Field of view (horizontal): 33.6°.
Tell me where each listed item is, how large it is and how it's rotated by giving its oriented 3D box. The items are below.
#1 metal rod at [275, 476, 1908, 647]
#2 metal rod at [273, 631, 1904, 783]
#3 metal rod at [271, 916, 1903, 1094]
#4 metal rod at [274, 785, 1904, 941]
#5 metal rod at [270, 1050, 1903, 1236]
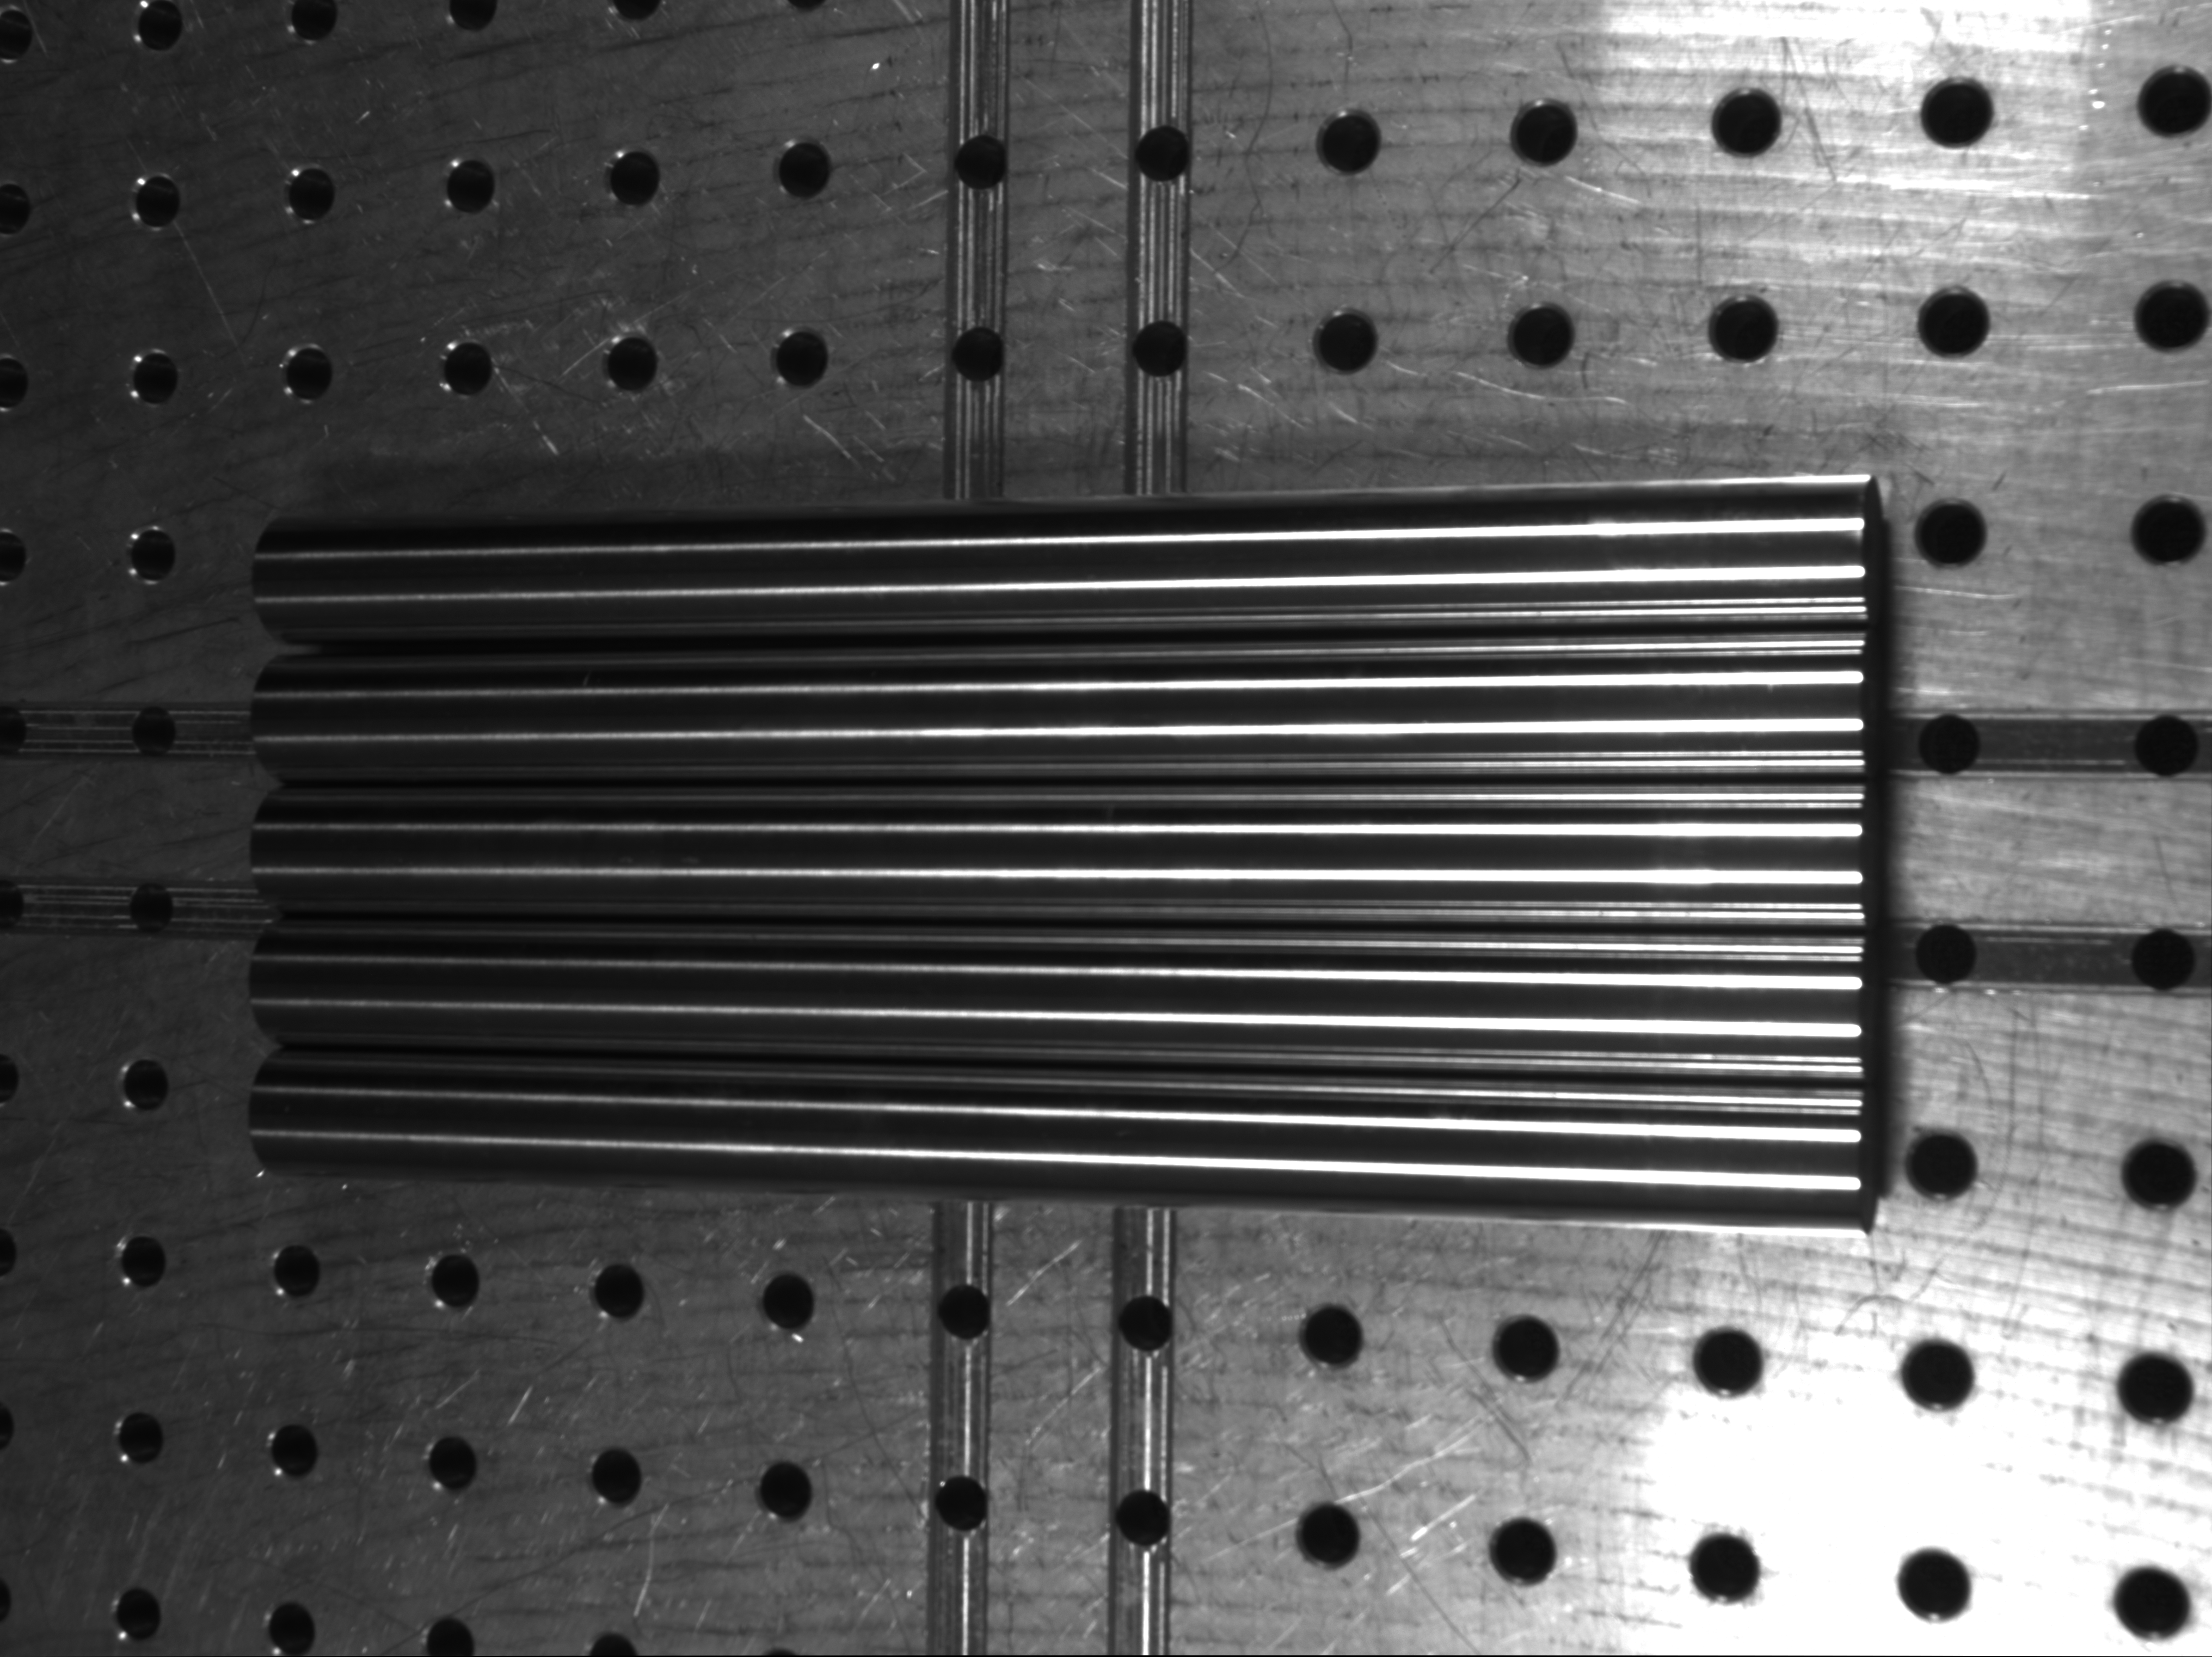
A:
[{"bbox_3d":[-0.011,-0.046,0.651,0.299,0.025,0.025,0,90,20],"label":"metal rod"},{"bbox_3d":[-0.012,-0.021,0.651,0.299,0.025,0.025,0,90,20],"label":"metal rod"},{"bbox_3d":[-0.012,0.030,0.651,0.299,0.025,0.025,0,90,20],"label":"metal rod"},{"bbox_3d":[-0.011,0.005,0.651,0.299,0.025,0.025,0,90,20],"label":"metal rod"},{"bbox_3d":[-0.012,0.054,0.651,0.299,0.025,0.025,0,90,20],"label":"metal rod"}]
